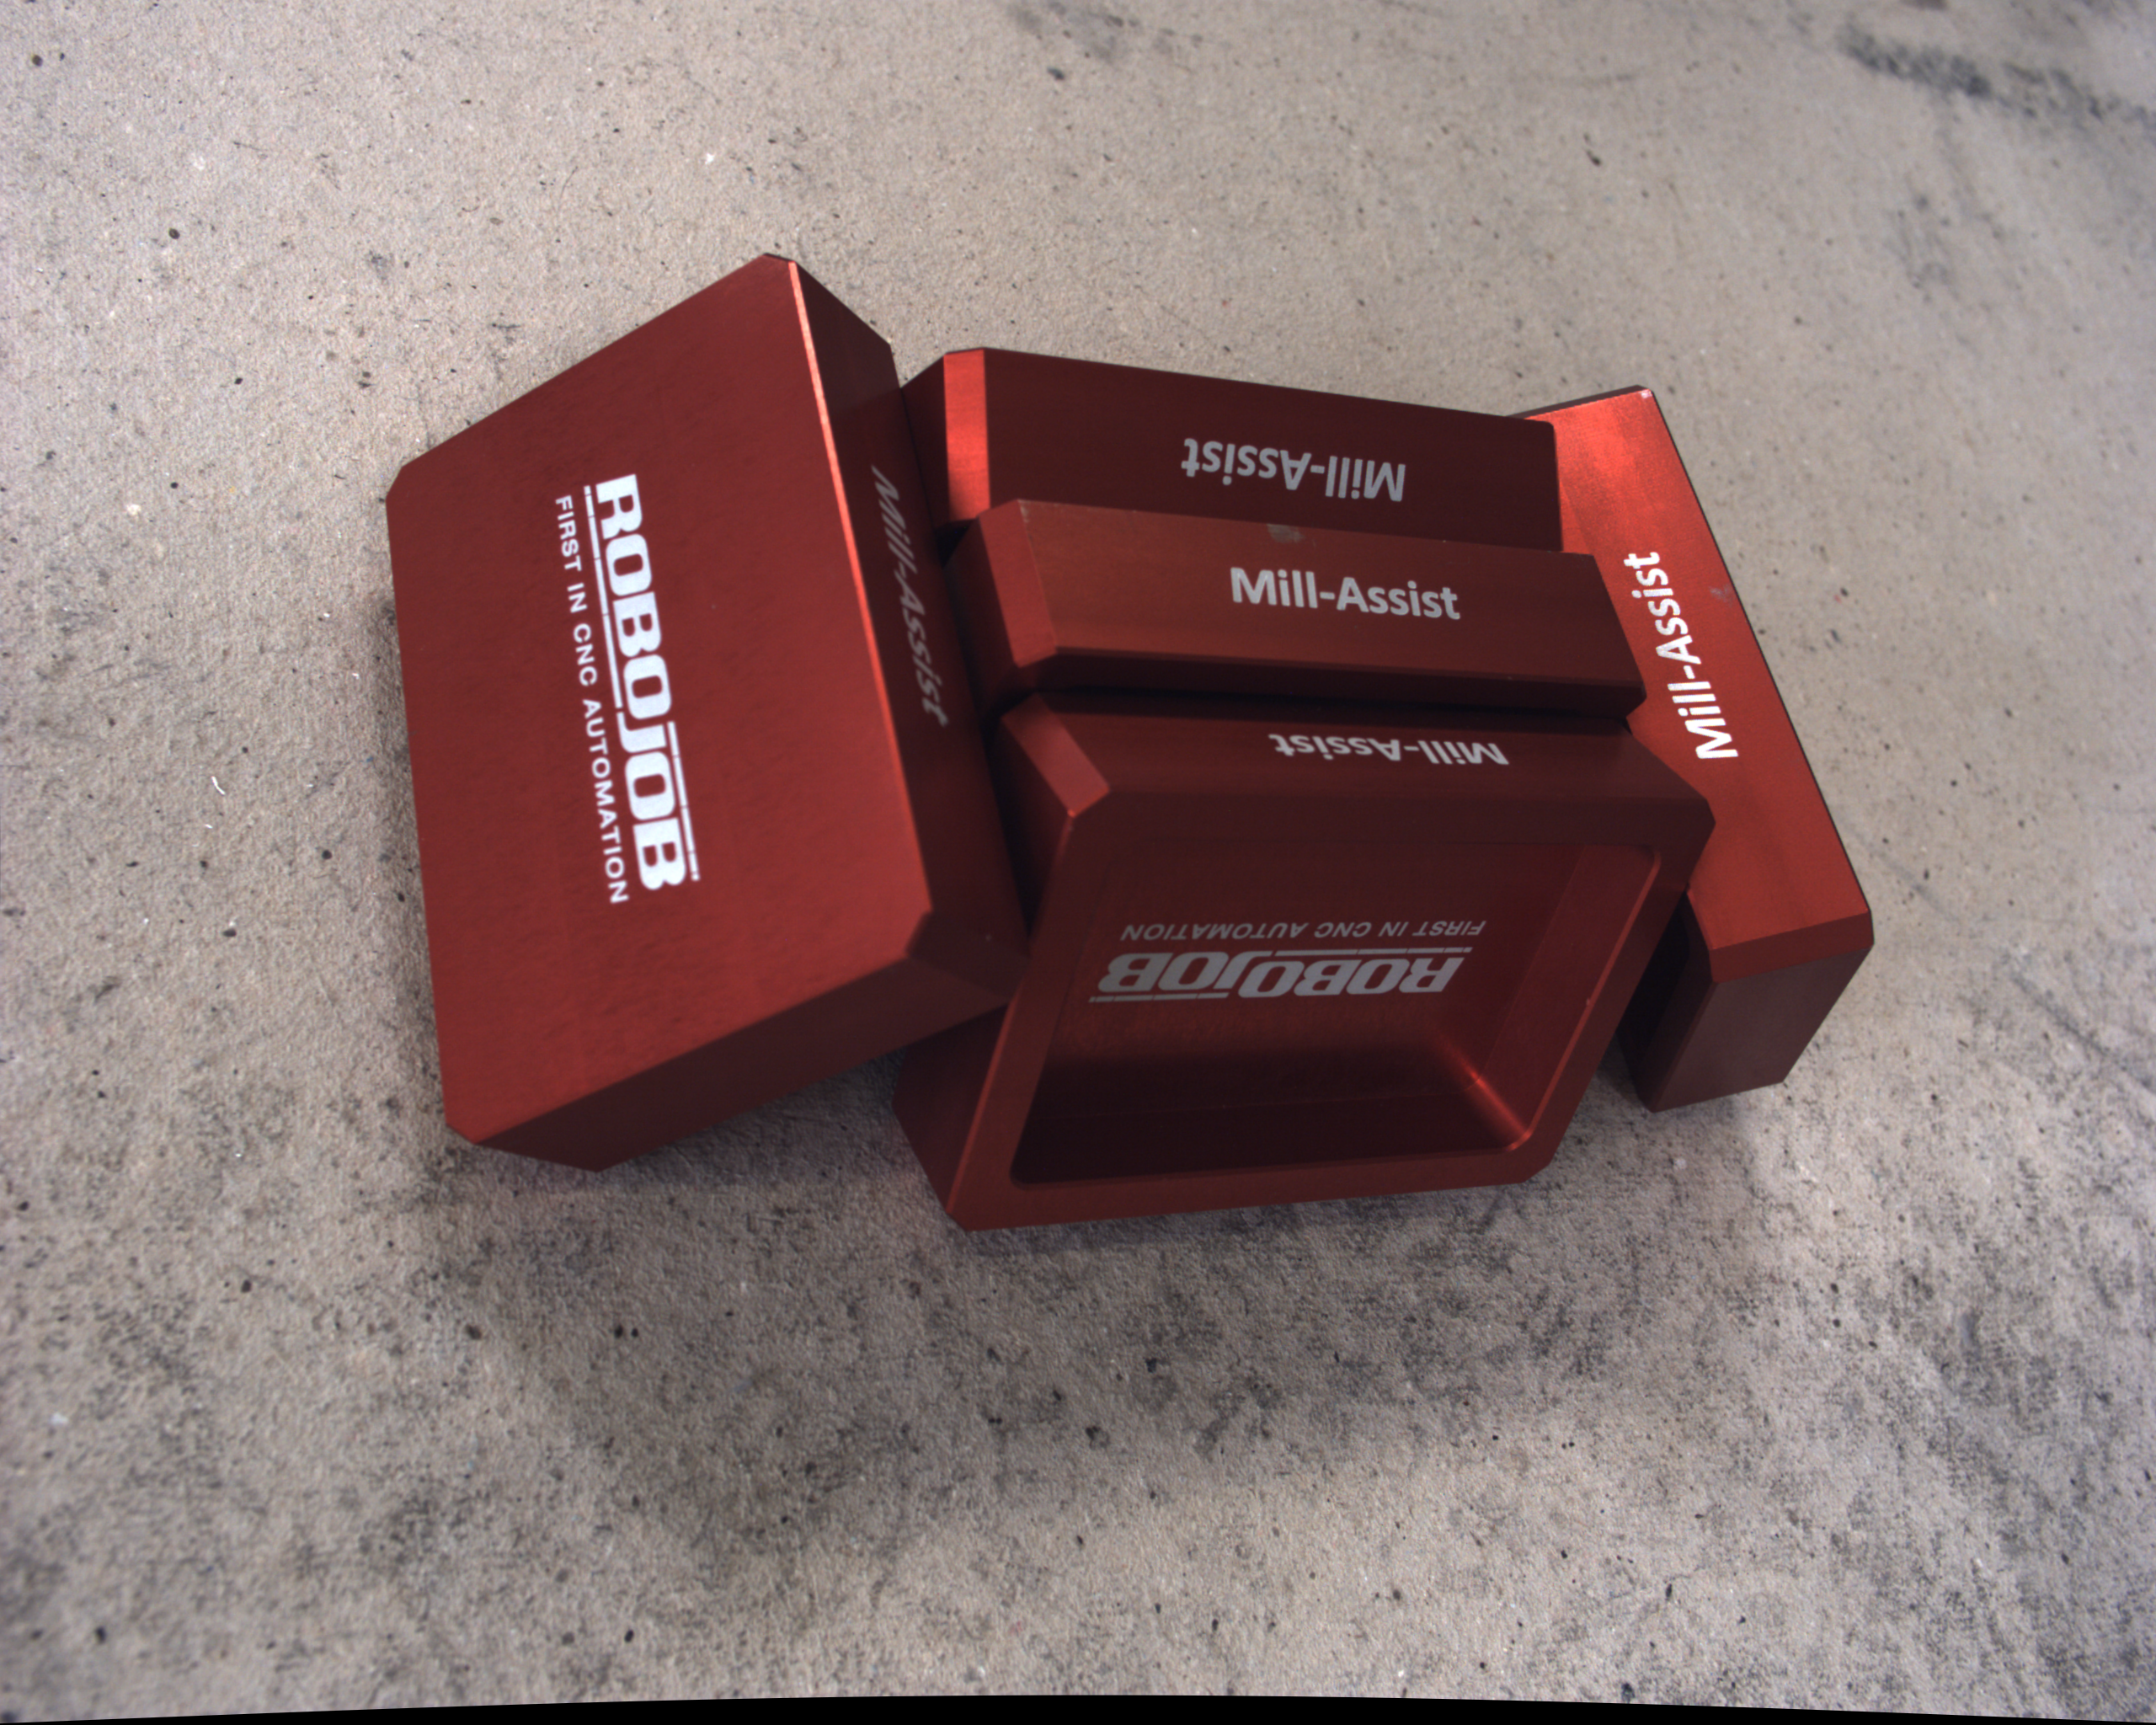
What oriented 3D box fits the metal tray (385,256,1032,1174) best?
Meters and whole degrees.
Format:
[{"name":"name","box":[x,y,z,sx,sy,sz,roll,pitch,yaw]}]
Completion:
[{"name":"metal tray","box":[-0.065,-0.025,0.344,0.030,0.090,0.130,32,39,-57]}]

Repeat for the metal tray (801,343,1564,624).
[{"name":"metal tray","box":[0.018,-0.066,0.410,0.131,0.090,0.030,0,84,-28]}]

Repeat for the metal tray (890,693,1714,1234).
[{"name":"metal tray","box":[0.040,0.019,0.372,0.131,0.089,0.030,1,33,-28]}]

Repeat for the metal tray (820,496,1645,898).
[{"name":"metal tray","box":[0.028,-0.025,0.393,0.131,0.090,0.030,0,62,-29]}]

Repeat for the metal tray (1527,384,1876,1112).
[{"name":"metal tray","box":[0.121,-0.023,0.441,0.030,0.090,0.130,-14,65,1]}]
